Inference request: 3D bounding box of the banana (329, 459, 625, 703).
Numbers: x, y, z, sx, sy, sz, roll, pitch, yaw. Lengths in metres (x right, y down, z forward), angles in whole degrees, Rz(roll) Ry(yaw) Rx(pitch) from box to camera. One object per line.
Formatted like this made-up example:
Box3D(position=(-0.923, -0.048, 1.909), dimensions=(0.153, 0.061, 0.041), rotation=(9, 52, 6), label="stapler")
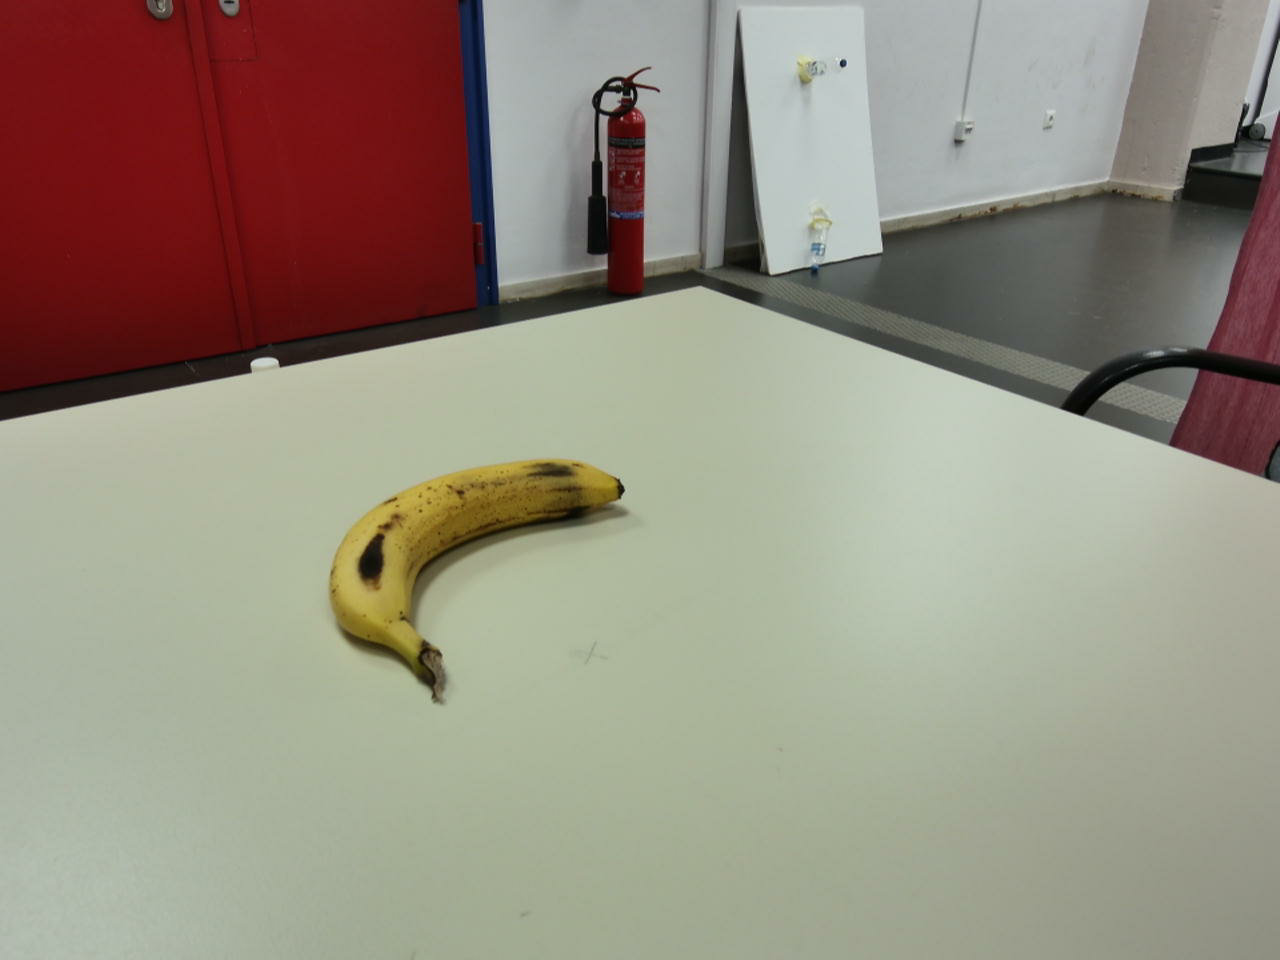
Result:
Box3D(position=(-0.088, 0.030, 0.508), dimensions=(0.097, 0.038, 0.186), rotation=(12, 27, 22), label="banana")
